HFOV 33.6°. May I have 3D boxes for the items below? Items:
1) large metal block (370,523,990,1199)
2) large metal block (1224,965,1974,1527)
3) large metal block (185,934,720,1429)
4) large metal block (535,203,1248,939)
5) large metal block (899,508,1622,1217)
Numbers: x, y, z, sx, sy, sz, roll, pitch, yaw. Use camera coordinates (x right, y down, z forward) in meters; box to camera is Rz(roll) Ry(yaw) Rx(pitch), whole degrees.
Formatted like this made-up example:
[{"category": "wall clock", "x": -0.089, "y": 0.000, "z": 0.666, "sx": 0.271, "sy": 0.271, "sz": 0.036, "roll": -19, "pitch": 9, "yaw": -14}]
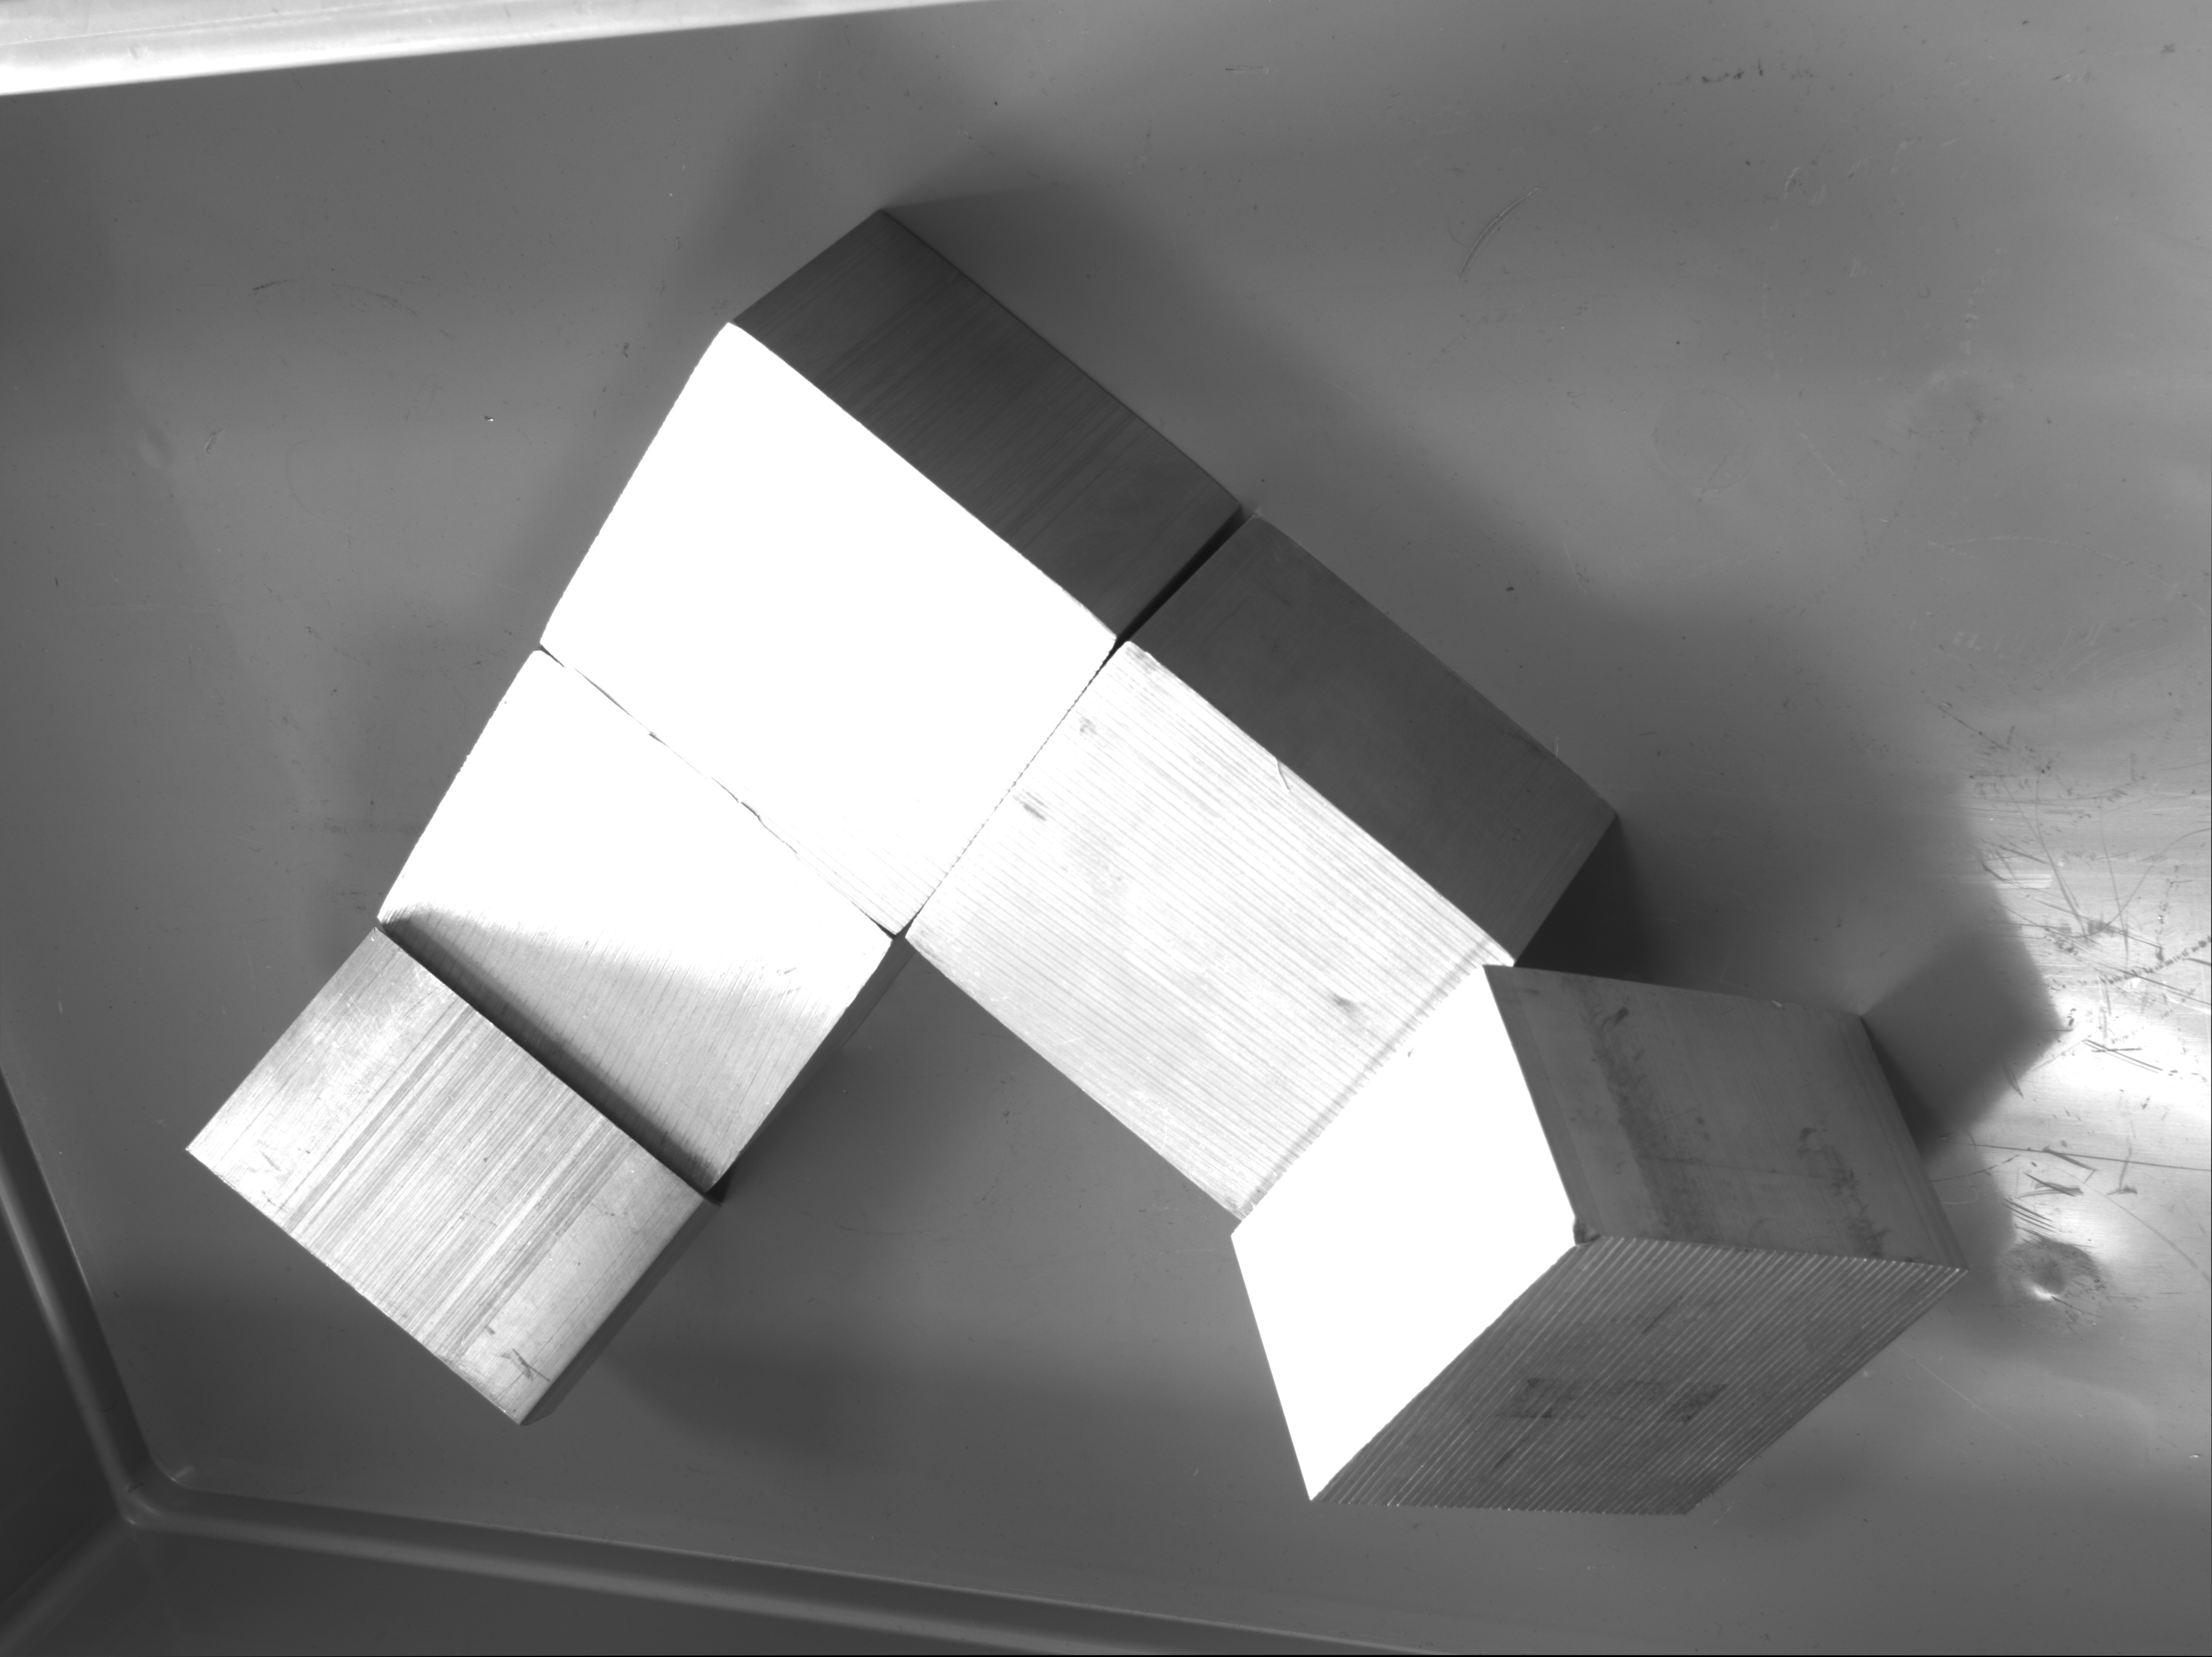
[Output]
[{"category": "large metal block", "x": -0.075, "y": 0.006, "z": 0.669, "sx": 0.080, "sy": 0.050, "sz": 0.080, "roll": 39, "pitch": 129, "yaw": 2}, {"category": "large metal block", "x": 0.078, "y": 0.071, "z": 0.598, "sx": 0.080, "sy": 0.050, "sz": 0.080, "roll": 9, "pitch": 137, "yaw": -31}, {"category": "large metal block", "x": -0.122, "y": 0.069, "z": 0.704, "sx": 0.080, "sy": 0.050, "sz": 0.080, "roll": 39, "pitch": 172, "yaw": 2}, {"category": "large metal block", "x": -0.037, "y": -0.043, "z": 0.618, "sx": 0.080, "sy": 0.050, "sz": 0.080, "roll": 39, "pitch": 129, "yaw": 2}, {"category": "large metal block", "x": 0.025, "y": 0.008, "z": 0.616, "sx": 0.080, "sy": 0.050, "sz": 0.080, "roll": 39, "pitch": 129, "yaw": 2}]
